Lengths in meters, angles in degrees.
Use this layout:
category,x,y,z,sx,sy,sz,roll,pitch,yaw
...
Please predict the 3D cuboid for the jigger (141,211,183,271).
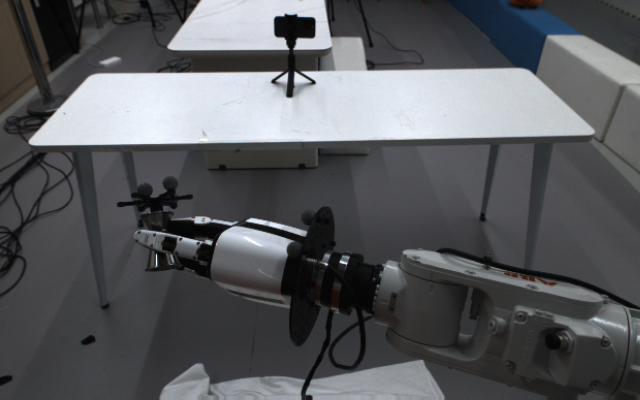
category,x,y,z,sx,sy,sz,roll,pitch,yaw
jigger,-0.193,0.051,0.592,0.043,0.043,0.071,-8,79,-15
